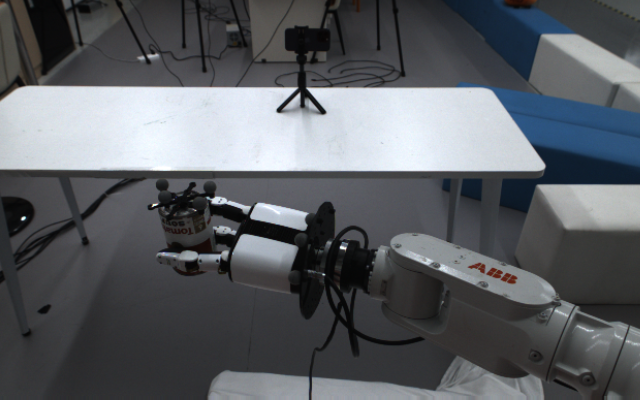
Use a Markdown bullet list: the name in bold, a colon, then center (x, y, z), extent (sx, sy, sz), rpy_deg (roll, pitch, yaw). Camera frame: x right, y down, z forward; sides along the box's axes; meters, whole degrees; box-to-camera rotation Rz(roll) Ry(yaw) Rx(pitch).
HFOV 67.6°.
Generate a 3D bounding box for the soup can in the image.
- **soup can**: center (-0.182, 0.048, 0.681), extent (0.067, 0.101, 0.067), rpy_deg (-2, 33, 1)
